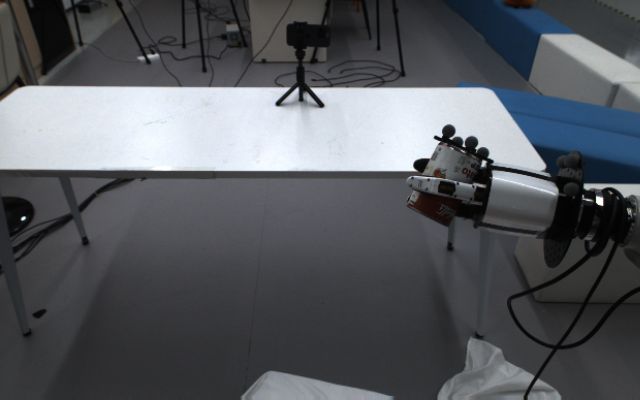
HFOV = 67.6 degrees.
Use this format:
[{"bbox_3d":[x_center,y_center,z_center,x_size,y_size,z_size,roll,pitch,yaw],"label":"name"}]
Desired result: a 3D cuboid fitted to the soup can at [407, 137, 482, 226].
[{"bbox_3d":[0.175,-0.022,0.678,0.067,0.101,0.067,26,5,-2],"label":"soup can"}]
